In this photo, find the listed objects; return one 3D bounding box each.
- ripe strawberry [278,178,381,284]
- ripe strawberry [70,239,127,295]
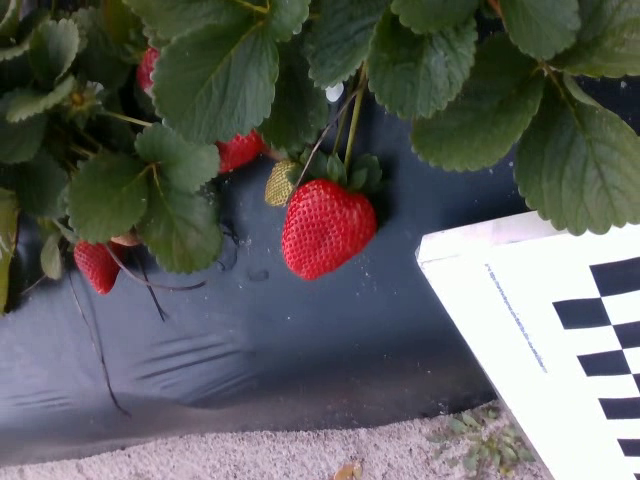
[{"bbox_3d":[0.001,-0.001,0.361,0.056,0.065,0.057,22,-24,-5],"label":"ripe strawberry"},{"bbox_3d":[-0.169,0.017,0.464,0.041,0.052,0.043,-8,-15,-42],"label":"ripe strawberry"}]
